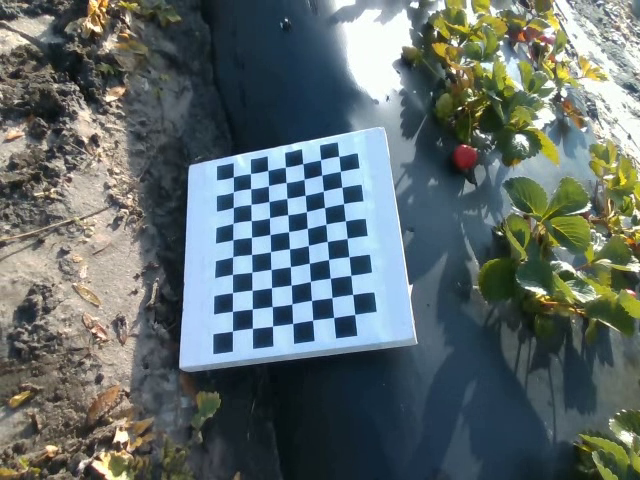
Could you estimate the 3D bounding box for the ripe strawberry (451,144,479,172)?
[{"bbox_3d":[0.178,-0.099,0.775,0.030,0.033,0.044,16,36,25],"label":"ripe strawberry"}]
